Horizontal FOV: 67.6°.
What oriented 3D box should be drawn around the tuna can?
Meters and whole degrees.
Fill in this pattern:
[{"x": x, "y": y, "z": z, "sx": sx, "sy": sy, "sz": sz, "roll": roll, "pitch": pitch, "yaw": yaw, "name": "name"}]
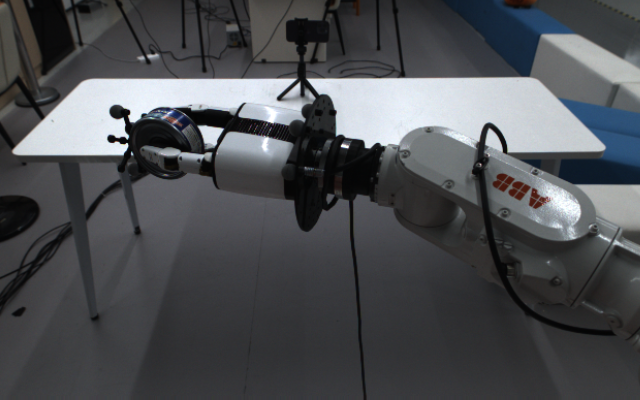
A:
[{"x": -0.187, "y": -0.066, "z": 0.594, "sx": 0.085, "sy": 0.085, "sz": 0.034, "roll": 9, "pitch": 34, "yaw": 10, "name": "tuna can"}]
